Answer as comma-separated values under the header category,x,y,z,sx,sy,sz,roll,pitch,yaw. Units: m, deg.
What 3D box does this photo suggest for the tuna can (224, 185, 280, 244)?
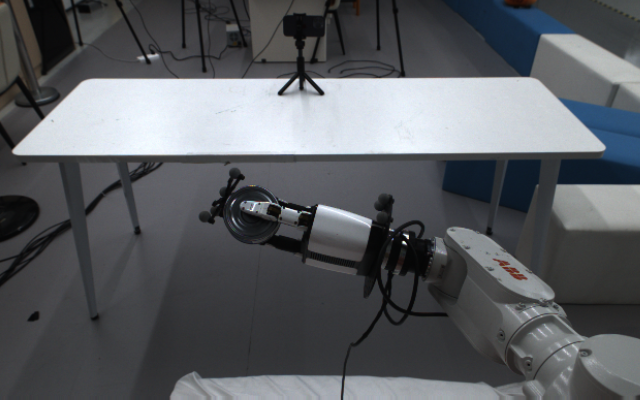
category,x,y,z,sx,sy,sz,roll,pitch,yaw
tuna can,-0.098,0.026,0.721,0.085,0.034,0.085,1,77,-5
